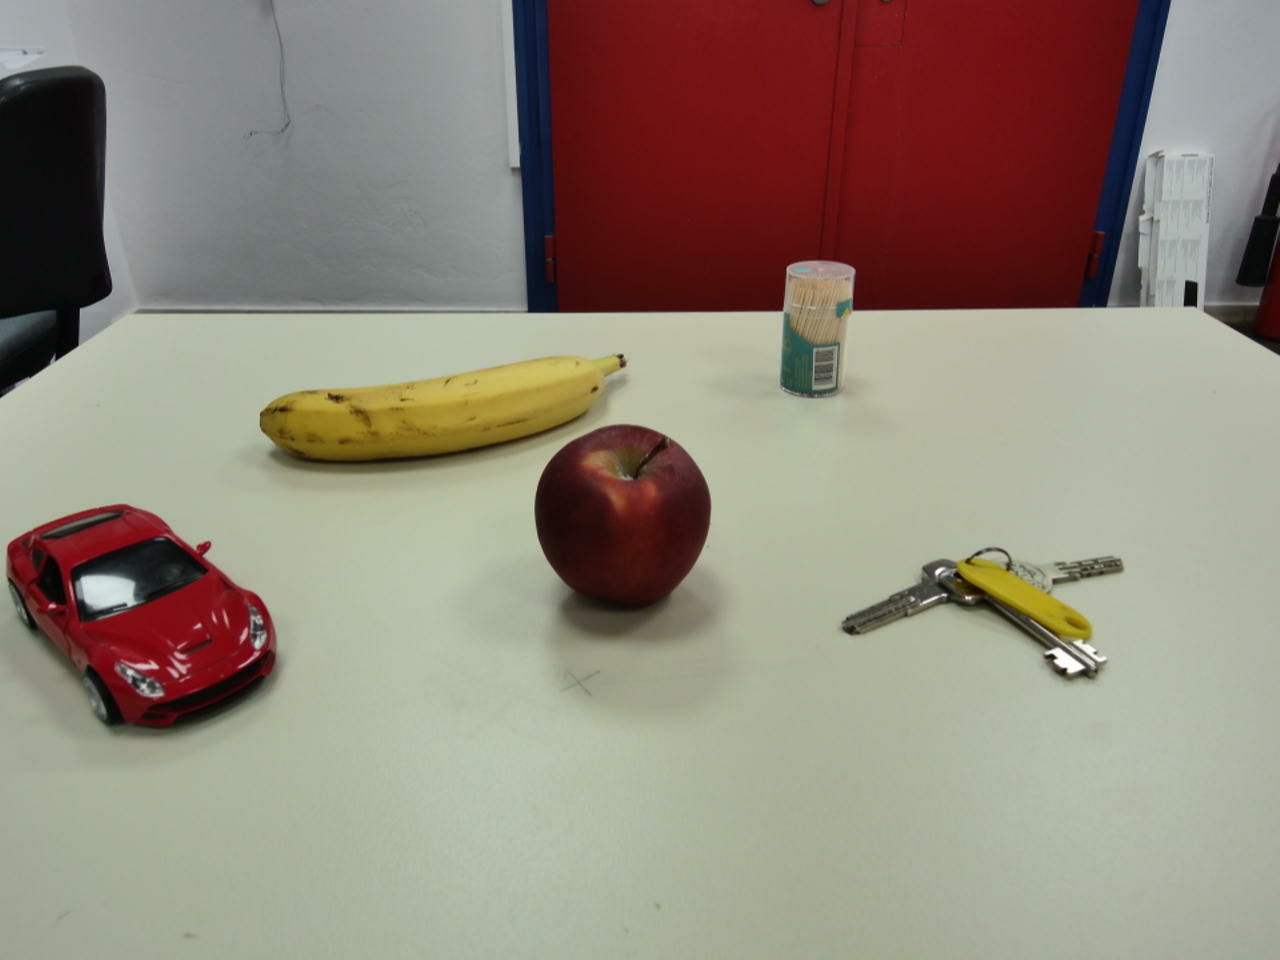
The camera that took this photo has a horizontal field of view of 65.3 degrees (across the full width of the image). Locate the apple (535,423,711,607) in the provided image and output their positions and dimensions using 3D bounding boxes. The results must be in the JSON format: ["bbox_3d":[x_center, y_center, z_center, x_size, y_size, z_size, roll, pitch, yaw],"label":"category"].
[{"bbox_3d":[-0.007,0.014,0.392,0.070,0.072,0.070,1,24,0],"label":"apple"}]
